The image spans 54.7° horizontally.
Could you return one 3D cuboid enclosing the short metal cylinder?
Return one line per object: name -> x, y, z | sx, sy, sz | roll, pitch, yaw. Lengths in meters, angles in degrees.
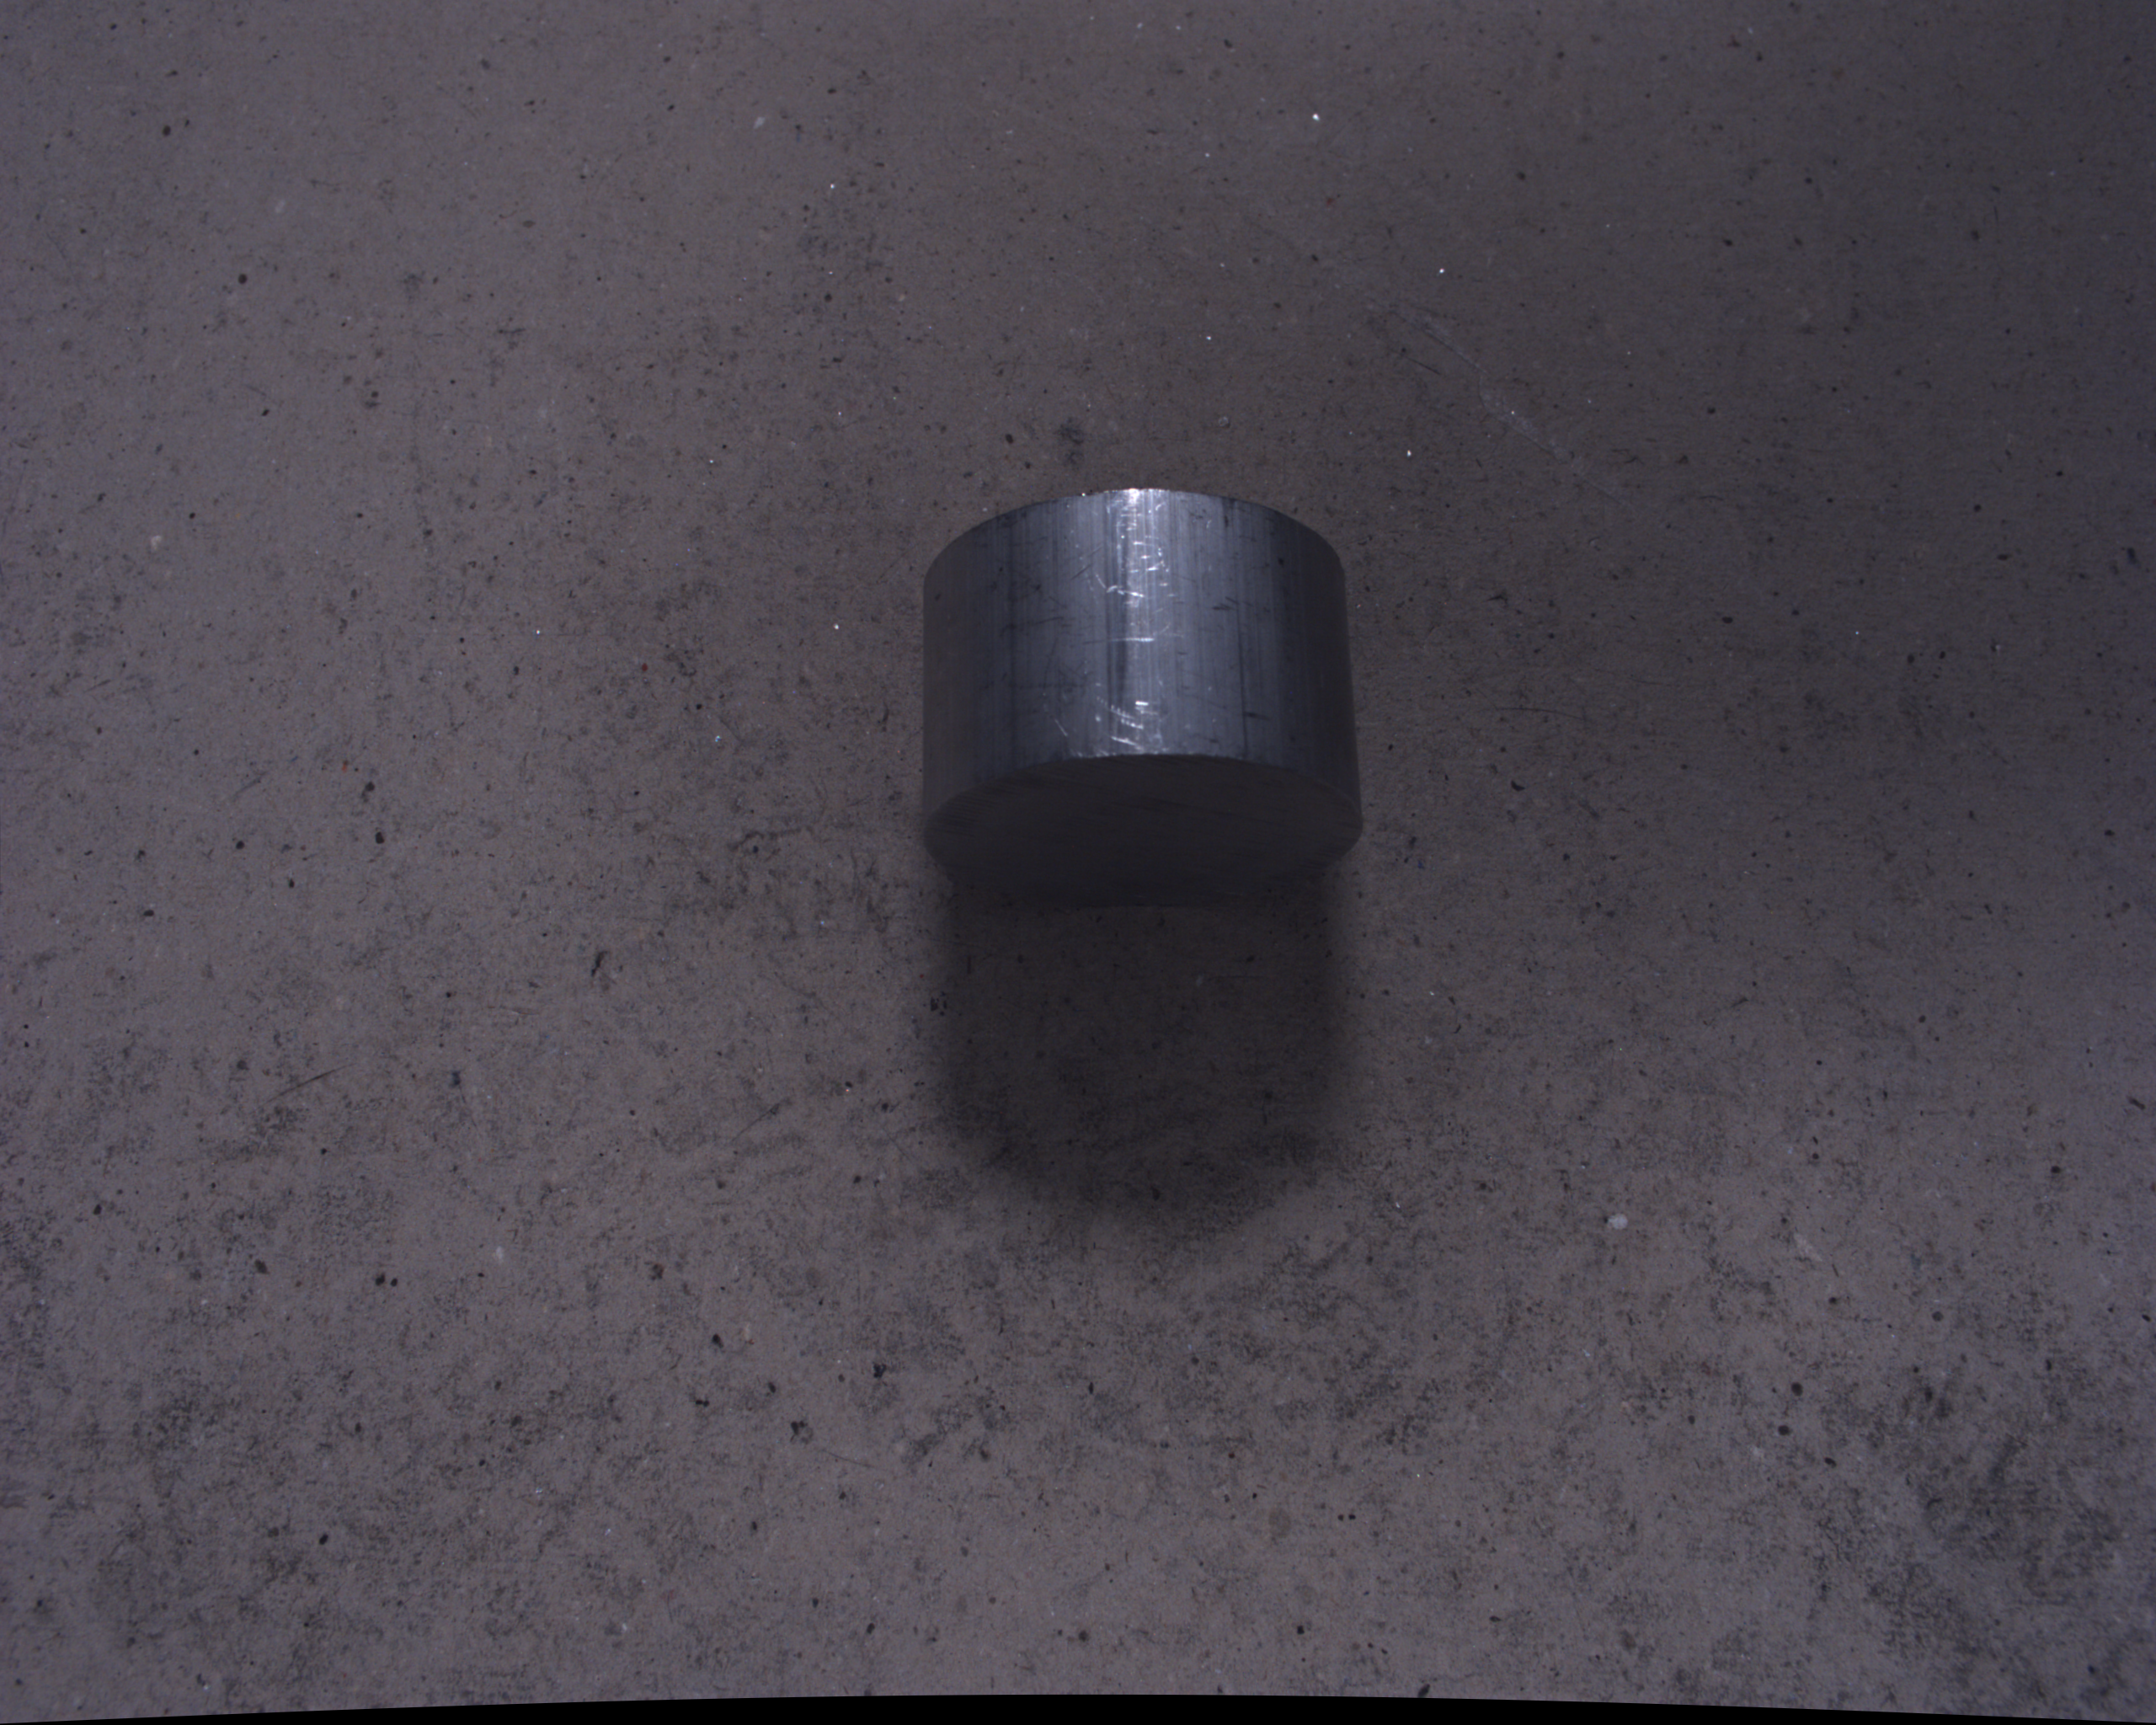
short metal cylinder -> 0.012, -0.028, 0.391 | 0.081, 0.080, 0.050 | -1, 70, -1
